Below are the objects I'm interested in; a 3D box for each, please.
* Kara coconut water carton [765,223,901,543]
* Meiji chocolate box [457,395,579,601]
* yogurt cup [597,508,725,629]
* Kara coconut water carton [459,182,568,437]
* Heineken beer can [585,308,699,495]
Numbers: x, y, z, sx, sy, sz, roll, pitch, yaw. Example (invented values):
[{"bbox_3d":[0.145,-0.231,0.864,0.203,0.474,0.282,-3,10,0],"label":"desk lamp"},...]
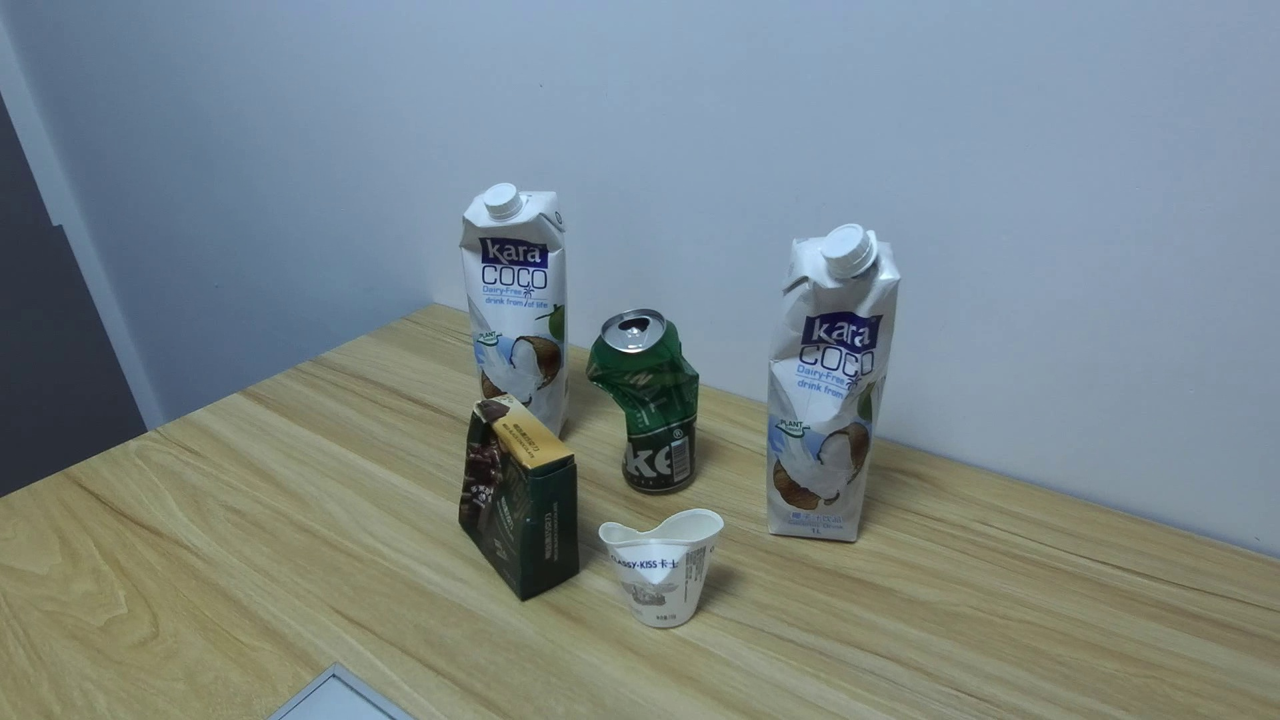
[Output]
[{"bbox_3d":[0.137,0.018,0.520,0.083,0.256,0.078,11,33,20],"label":"Kara coconut water carton"},{"bbox_3d":[-0.094,0.101,0.539,0.058,0.111,0.112,-16,32,-35],"label":"Meiji chocolate box"},{"bbox_3d":[0.016,0.140,0.491,0.076,0.071,0.053,-19,33,-27],"label":"yogurt cup"},{"bbox_3d":[-0.108,-0.040,0.648,0.099,0.244,0.071,1,25,8],"label":"Kara coconut water carton"},{"bbox_3d":[0.010,0.036,0.599,0.067,0.159,0.079,14,38,33],"label":"Heineken beer can"}]
